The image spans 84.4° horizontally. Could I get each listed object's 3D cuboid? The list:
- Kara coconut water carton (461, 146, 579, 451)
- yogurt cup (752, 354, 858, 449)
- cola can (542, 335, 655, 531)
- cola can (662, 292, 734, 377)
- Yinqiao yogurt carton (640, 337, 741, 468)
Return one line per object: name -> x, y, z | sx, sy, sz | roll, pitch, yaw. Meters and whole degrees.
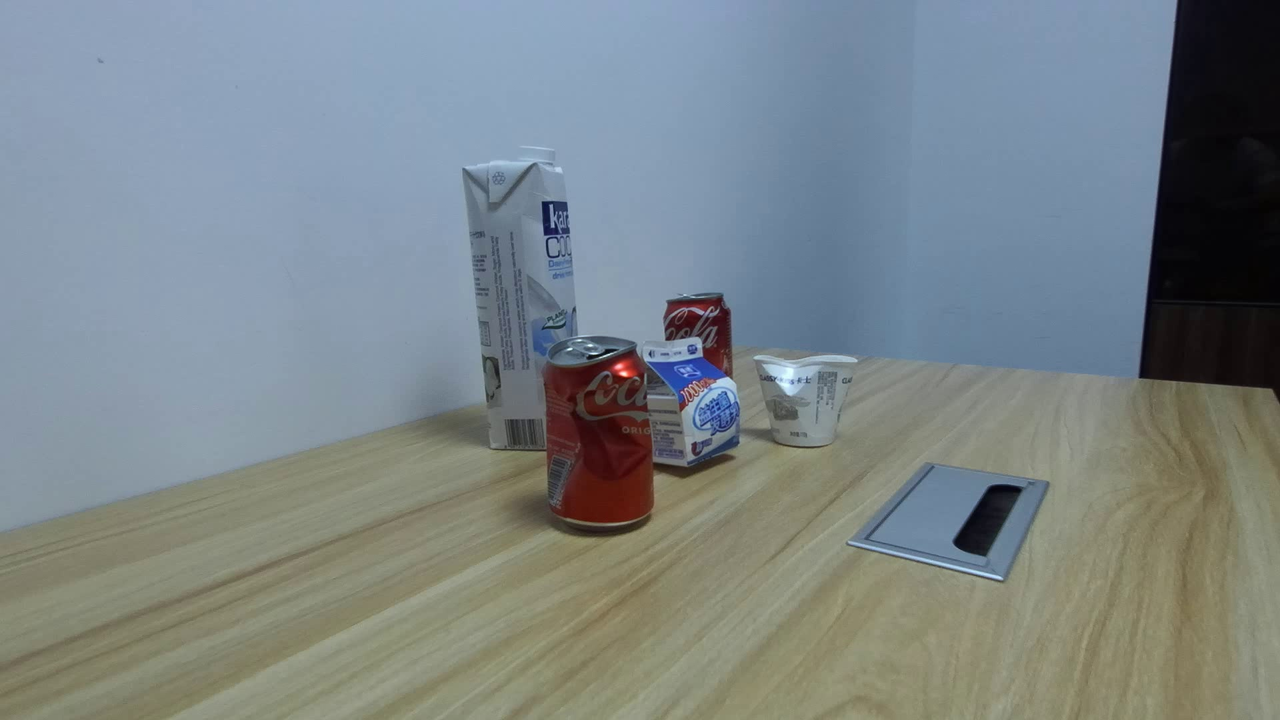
Kara coconut water carton -> -0.095, -0.050, 0.591 | 0.075, 0.245, 0.077 | 0, 12, 12
yogurt cup -> 0.135, 0.031, 0.584 | 0.075, 0.071, 0.053 | -3, 13, -11
cola can -> -0.026, 0.044, 0.435 | 0.066, 0.112, 0.069 | -5, 12, -10
cola can -> 0.056, -0.004, 0.671 | 0.065, 0.117, 0.072 | 8, 13, 36
Yinqiao yogurt carton -> 0.031, 0.029, 0.543 | 0.080, 0.097, 0.075 | -2, 7, 45
